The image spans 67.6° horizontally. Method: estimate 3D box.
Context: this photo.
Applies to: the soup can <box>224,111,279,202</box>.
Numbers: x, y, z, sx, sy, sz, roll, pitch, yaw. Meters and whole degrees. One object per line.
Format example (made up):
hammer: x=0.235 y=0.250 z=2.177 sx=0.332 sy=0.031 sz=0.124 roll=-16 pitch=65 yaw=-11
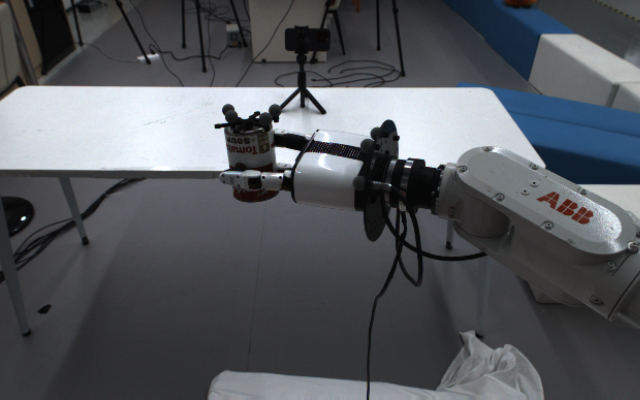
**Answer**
soup can: x=-0.094 y=-0.056 z=0.683 sx=0.067 sy=0.101 sz=0.067 roll=-3 pitch=27 yaw=2
